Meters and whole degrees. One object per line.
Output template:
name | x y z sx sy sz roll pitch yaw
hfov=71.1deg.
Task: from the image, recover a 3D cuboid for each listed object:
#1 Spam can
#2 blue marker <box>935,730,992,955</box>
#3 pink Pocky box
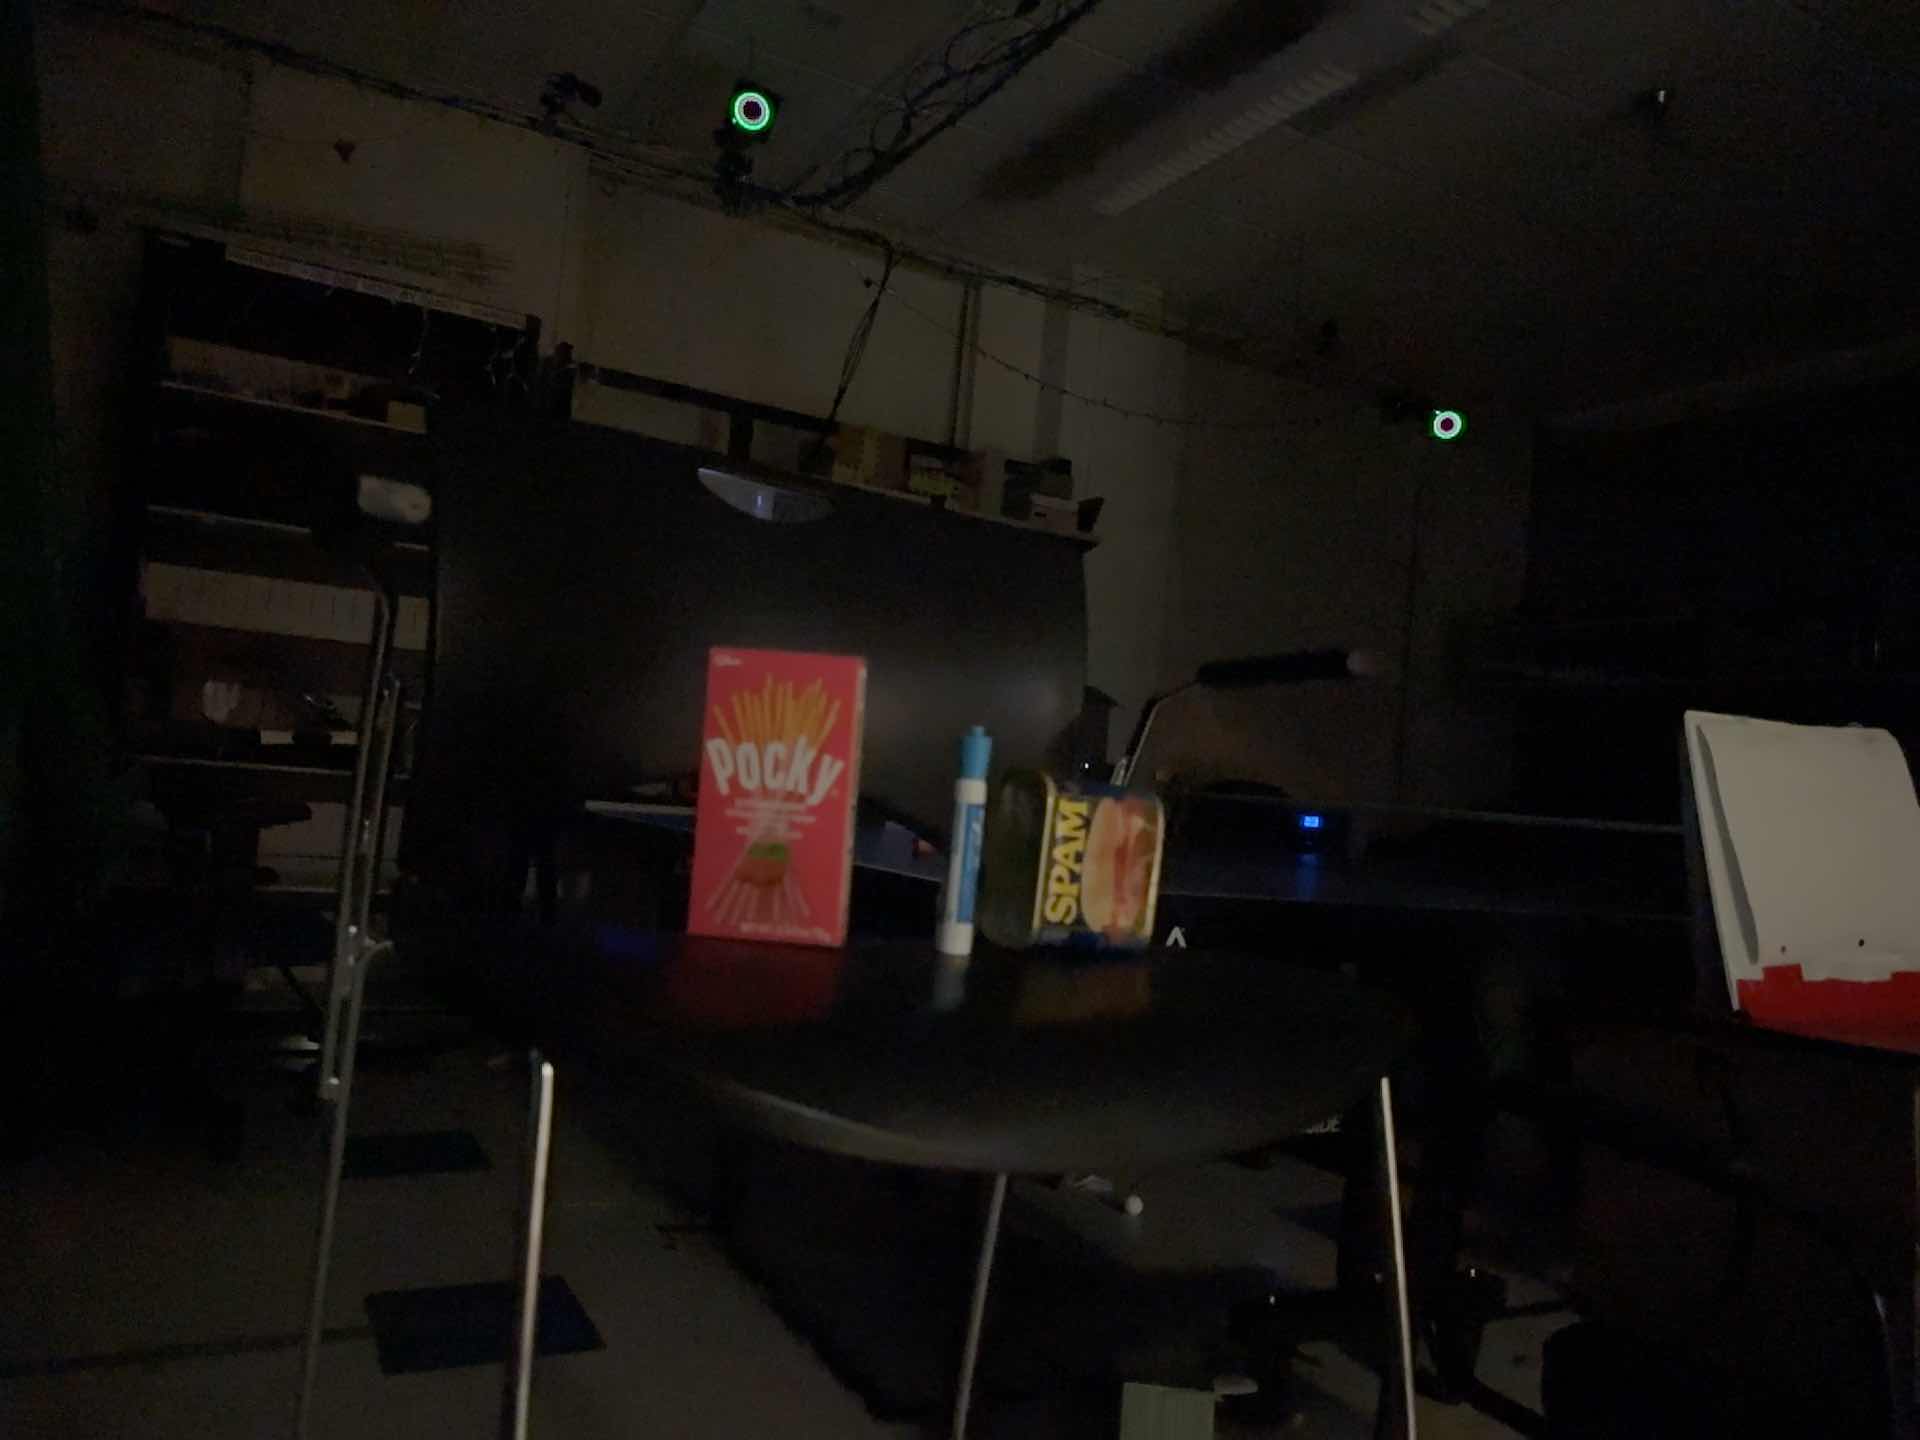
Spam can | 0.068 0.079 0.784 0.083 0.100 0.056 8 -2 -35
blue marker | 0.002 0.066 0.730 0.020 0.121 0.020 6 1 0
pink Pocky box | -0.100 0.039 0.715 0.084 0.155 0.029 4 1 7
